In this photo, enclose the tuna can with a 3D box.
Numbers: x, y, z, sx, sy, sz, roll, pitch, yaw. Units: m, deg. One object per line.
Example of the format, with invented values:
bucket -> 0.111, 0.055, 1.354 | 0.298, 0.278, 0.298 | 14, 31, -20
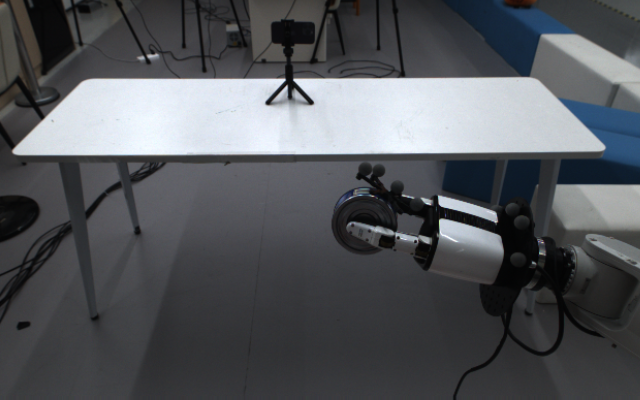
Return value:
tuna can -> 0.062, 0.034, 0.630 | 0.085, 0.085, 0.034 | 7, 19, 6
